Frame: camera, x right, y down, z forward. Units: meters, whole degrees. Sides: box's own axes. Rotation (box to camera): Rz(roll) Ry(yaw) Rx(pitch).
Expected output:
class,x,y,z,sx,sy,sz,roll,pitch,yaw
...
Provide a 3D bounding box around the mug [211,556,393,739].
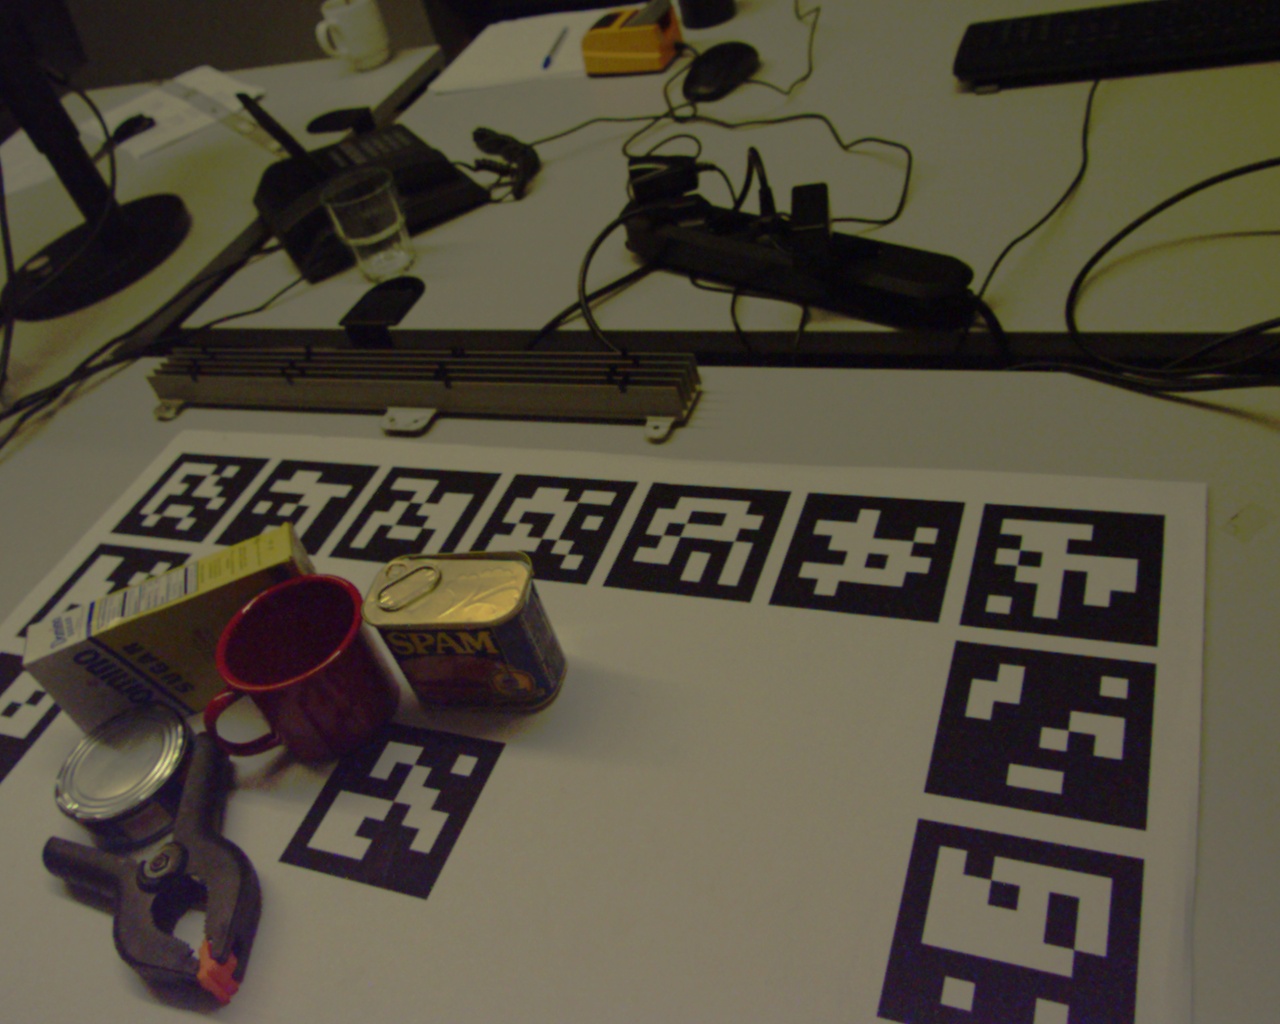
class,x,y,z,sx,sy,sz,roll,pitch,yaw
mug,-0.217,0.096,0.722,0.094,0.081,0.116,27,61,38

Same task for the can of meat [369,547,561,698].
class,x,y,z,sx,sy,sz,roll,pitch,yaw
can of meat,-0.107,0.072,0.718,0.102,0.083,0.058,-2,43,17

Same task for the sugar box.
class,x,y,z,sx,sy,sz,roll,pitch,yaw
sugar box,-0.297,0.082,0.772,0.176,0.092,0.046,-22,40,-5

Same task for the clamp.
class,x,y,z,sx,sy,sz,roll,pitch,yaw
clamp,-0.266,0.207,0.670,0.121,0.036,0.167,-32,47,-20

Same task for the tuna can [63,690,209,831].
class,x,y,z,sx,sy,sz,roll,pitch,yaw
tuna can,-0.321,0.160,0.733,0.086,0.033,0.086,-11,44,10
